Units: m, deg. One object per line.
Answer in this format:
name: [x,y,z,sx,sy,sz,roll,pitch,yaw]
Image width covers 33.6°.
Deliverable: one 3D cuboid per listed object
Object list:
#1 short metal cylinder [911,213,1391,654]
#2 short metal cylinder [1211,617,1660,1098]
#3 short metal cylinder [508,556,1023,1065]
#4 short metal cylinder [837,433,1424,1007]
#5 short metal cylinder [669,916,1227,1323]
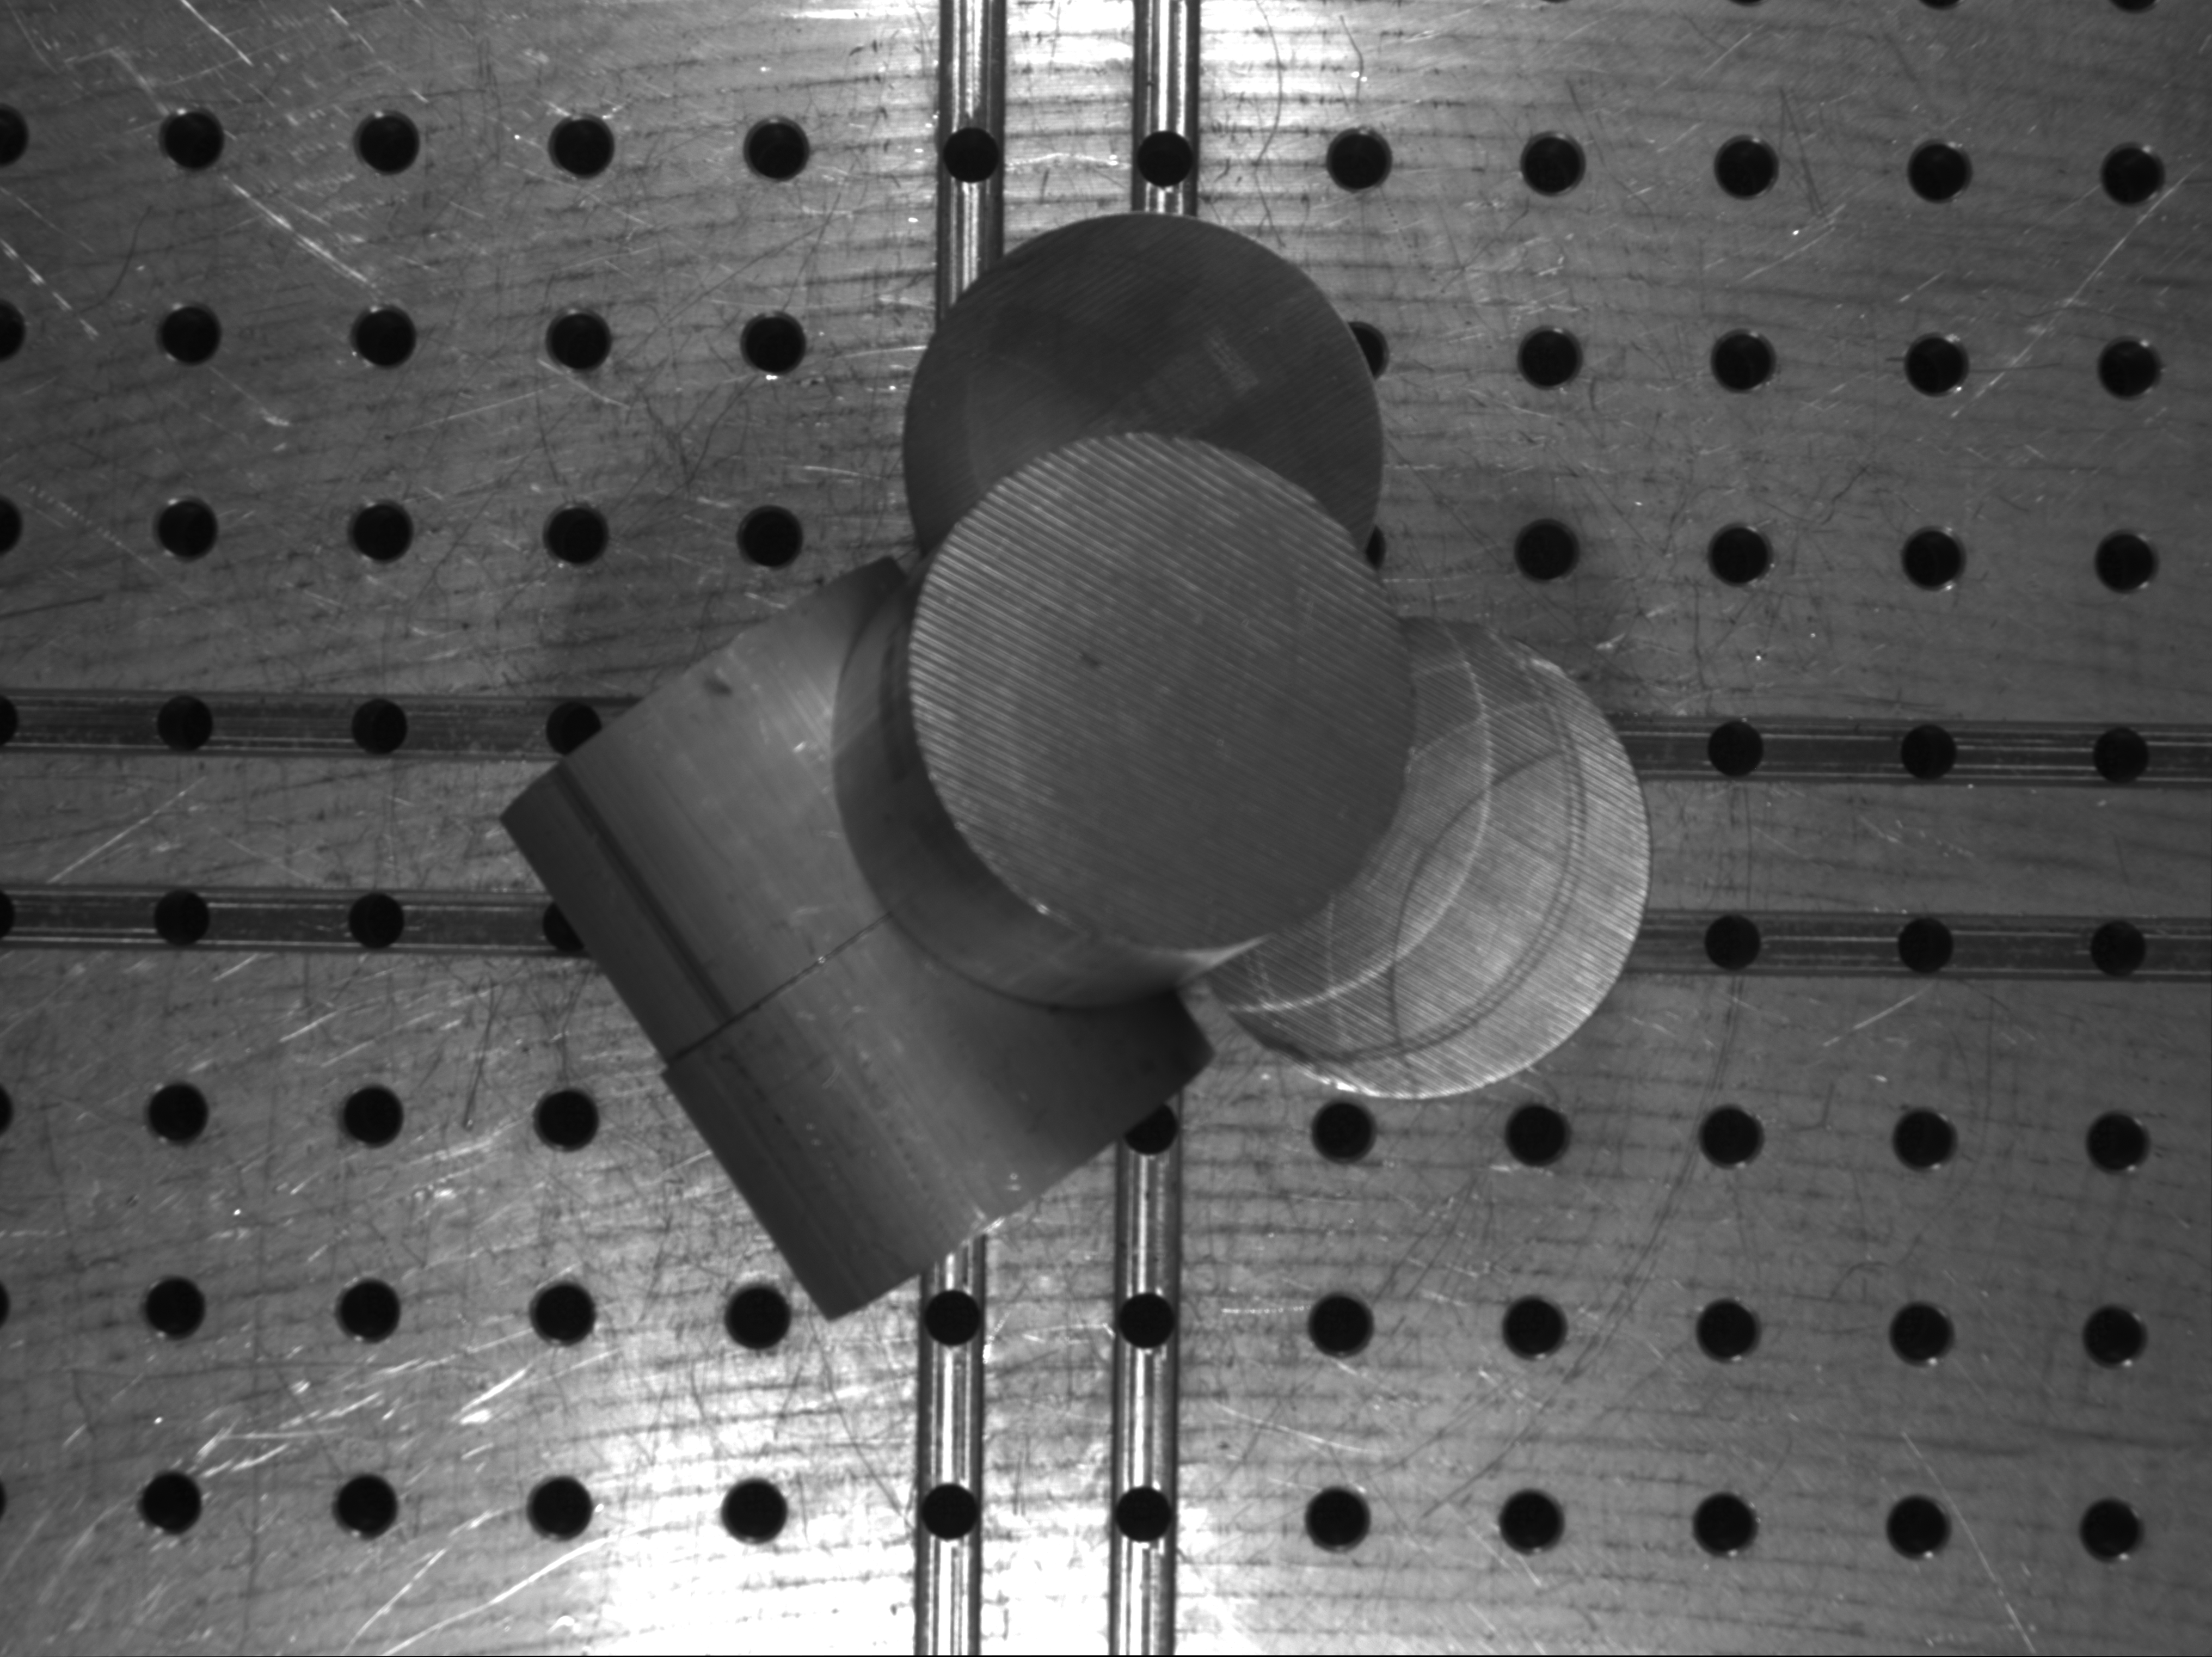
short metal cylinder: [0.007,-0.062,0.634,0.080,0.050,0.080,0,90,0]
short metal cylinder: [0.052,0.005,0.635,0.080,0.050,0.080,0,90,0]
short metal cylinder: [-0.054,-0.003,0.620,0.080,0.080,0.050,-34,90,0]
short metal cylinder: [0.003,-0.016,0.571,0.080,0.050,0.080,4,77,-17]
short metal cylinder: [-0.027,0.040,0.619,0.080,0.080,0.050,-34,90,0]
